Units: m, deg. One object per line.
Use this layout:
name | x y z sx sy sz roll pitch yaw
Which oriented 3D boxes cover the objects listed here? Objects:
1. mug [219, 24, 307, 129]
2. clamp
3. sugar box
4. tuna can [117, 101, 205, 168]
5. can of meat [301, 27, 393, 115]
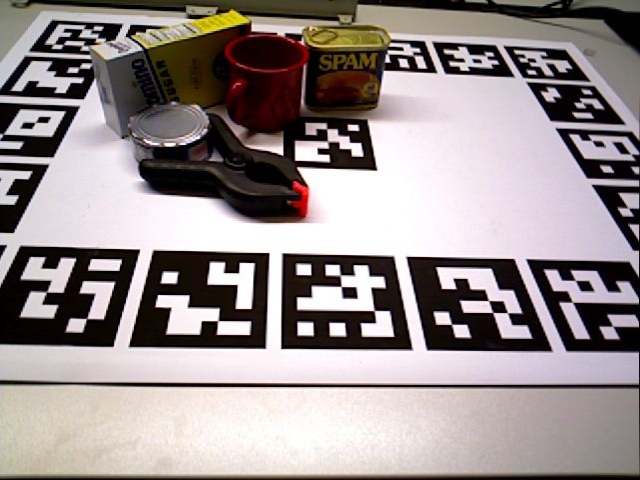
mug | -0.069 -0.172 0.597 0.093 0.083 0.114 20 49 12
clamp | -0.082 -0.060 0.532 0.165 0.037 0.119 30 46 16
sugar box | -0.161 -0.183 0.602 0.172 0.095 0.045 -28 54 -31
tuna can | -0.162 -0.105 0.559 0.085 0.034 0.084 3 48 -4
can of meat | 0.027 -0.200 0.645 0.101 0.086 0.057 -4 45 -12
